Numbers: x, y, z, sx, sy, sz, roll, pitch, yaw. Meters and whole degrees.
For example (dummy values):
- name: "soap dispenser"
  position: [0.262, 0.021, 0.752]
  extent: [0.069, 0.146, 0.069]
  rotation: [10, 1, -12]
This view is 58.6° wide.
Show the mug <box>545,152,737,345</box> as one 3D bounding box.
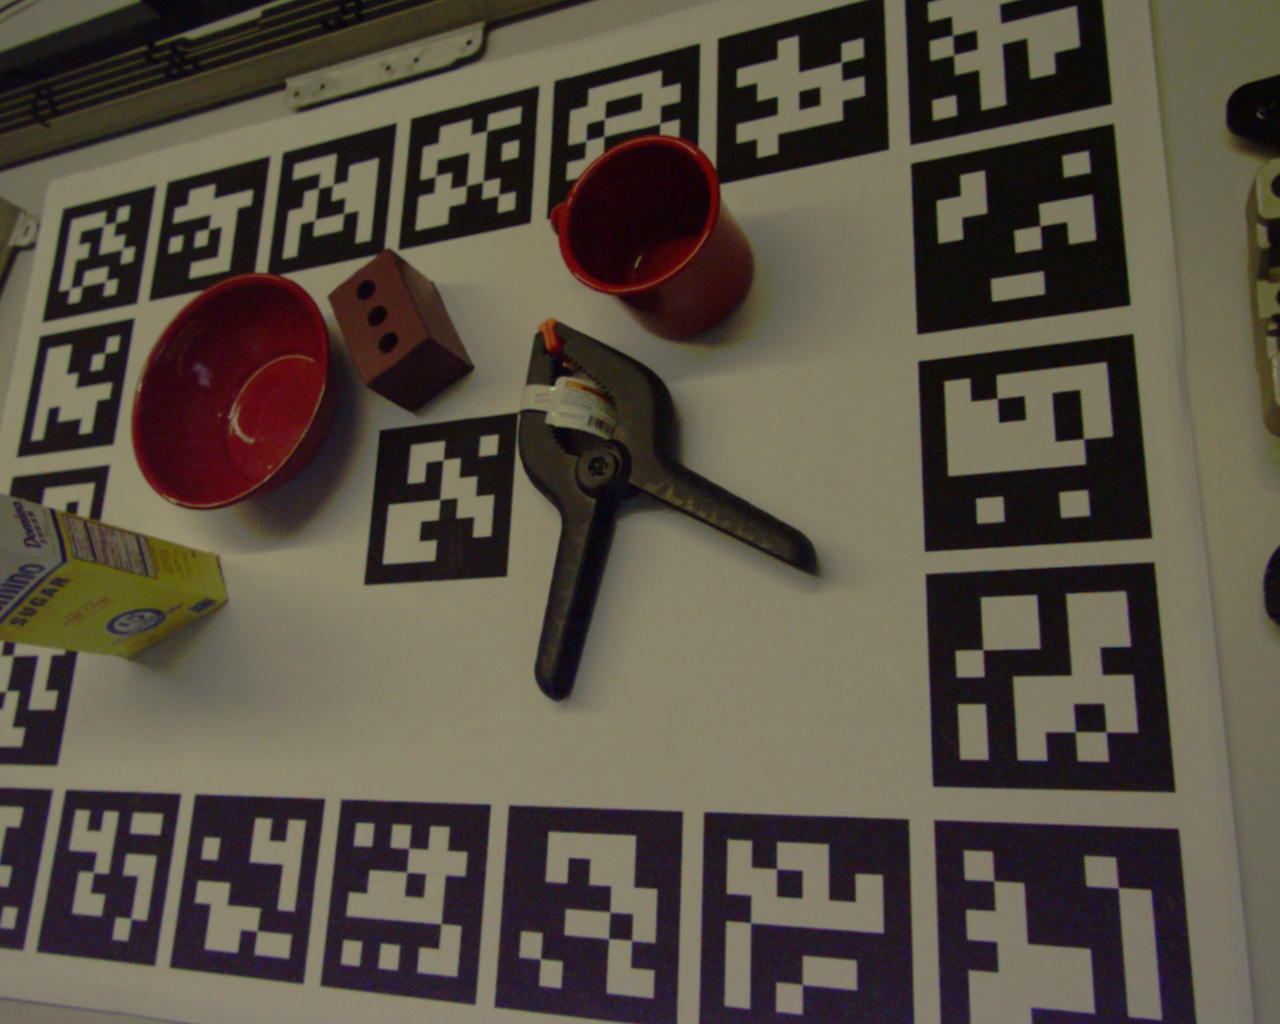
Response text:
- name: "mug"
  position: [-0.002, -0.151, 0.666]
  extent: [0.118, 0.080, 0.093]
  rotation: [23, 87, 24]

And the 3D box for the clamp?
- name: "clamp"
  position: [-0.026, -0.020, 0.663]
  extent: [0.166, 0.036, 0.204]
  rotation: [-29, 67, 17]

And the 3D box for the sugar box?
- name: "sugar box"
  position: [-0.354, 0.048, 0.725]
  extent: [0.093, 0.174, 0.045]
  rotation: [-30, 69, 13]

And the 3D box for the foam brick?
- name: "foam brick"
  position: [-0.150, -0.108, 0.748]
  extent: [0.053, 0.051, 0.078]
  rotation: [-33, 67, 15]

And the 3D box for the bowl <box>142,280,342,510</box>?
- name: "bowl"
  position: [-0.261, -0.074, 0.781]
  extent: [0.163, 0.054, 0.162]
  rotation: [-6, 74, 22]
